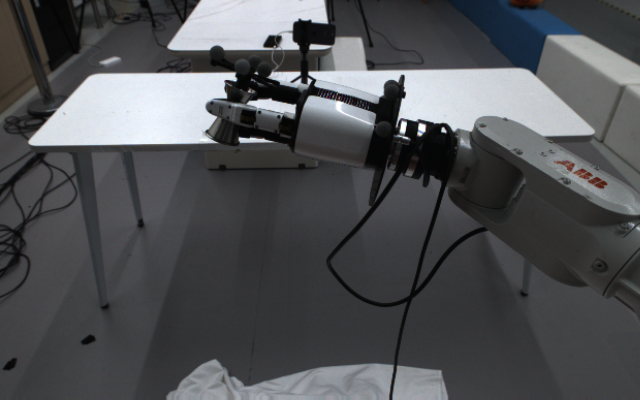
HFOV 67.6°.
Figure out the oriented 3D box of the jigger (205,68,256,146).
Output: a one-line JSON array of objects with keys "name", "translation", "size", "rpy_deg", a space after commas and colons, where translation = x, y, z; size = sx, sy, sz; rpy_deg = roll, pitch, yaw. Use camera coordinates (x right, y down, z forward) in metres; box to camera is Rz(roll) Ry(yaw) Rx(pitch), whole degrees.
[{"name": "jigger", "translation": [-0.107, -0.104, 0.581], "size": [0.043, 0.071, 0.043], "rpy_deg": [23, 19, -8]}]
